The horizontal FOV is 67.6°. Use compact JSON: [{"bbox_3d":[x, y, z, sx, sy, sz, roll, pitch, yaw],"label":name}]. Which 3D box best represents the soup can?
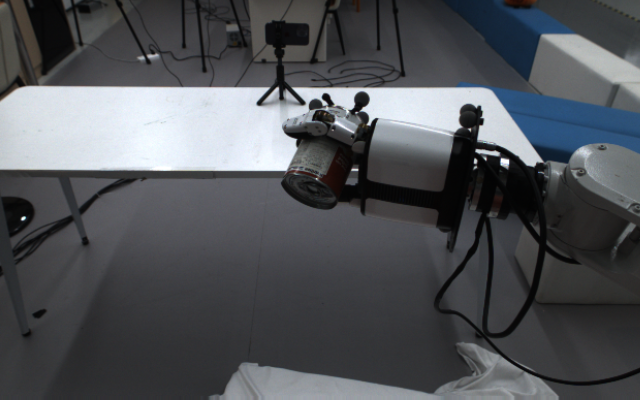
[{"bbox_3d":[0.007,-0.050,0.555,0.067,0.067,0.101,15,63,18],"label":"soup can"}]
